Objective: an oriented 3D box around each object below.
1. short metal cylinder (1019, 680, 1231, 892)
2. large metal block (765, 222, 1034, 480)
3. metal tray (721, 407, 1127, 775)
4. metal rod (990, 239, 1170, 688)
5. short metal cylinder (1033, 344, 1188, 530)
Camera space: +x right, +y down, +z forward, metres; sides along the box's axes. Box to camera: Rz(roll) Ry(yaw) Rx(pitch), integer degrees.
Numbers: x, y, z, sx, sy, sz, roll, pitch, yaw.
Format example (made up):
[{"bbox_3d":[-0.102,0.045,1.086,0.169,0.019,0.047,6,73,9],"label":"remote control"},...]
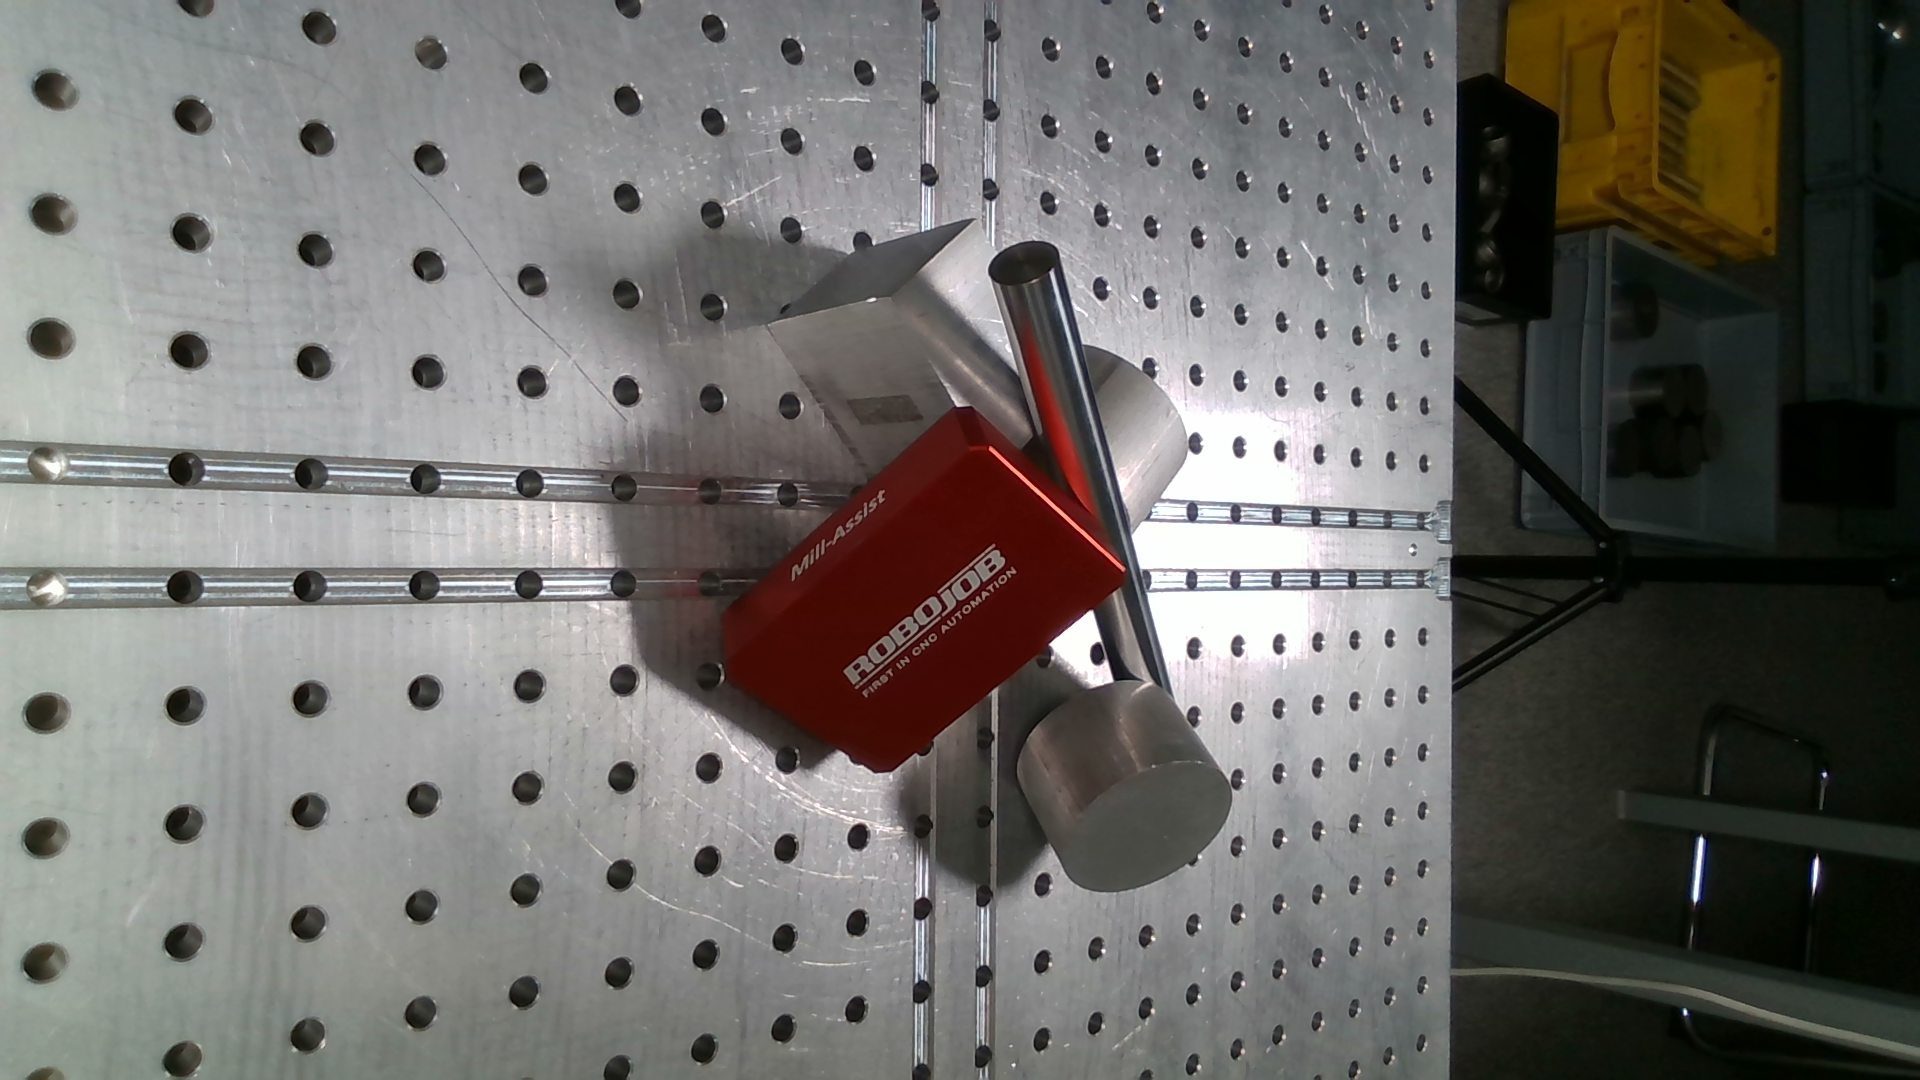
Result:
[{"bbox_3d":[0.071,0.108,0.604,0.080,0.050,0.080,-13,131,-15],"label":"short metal cylinder"},{"bbox_3d":[-0.016,-0.069,0.536,0.050,0.080,0.080,-48,118,-30],"label":"large metal block"},{"bbox_3d":[-0.014,0.023,0.519,0.130,0.030,0.090,-41,125,15],"label":"metal tray"},{"bbox_3d":[0.061,0.008,0.568,0.025,0.025,0.301,-51,141,-28],"label":"metal rod"},{"bbox_3d":[0.051,-0.038,0.593,0.050,0.080,0.080,-51,120,-28],"label":"short metal cylinder"}]
